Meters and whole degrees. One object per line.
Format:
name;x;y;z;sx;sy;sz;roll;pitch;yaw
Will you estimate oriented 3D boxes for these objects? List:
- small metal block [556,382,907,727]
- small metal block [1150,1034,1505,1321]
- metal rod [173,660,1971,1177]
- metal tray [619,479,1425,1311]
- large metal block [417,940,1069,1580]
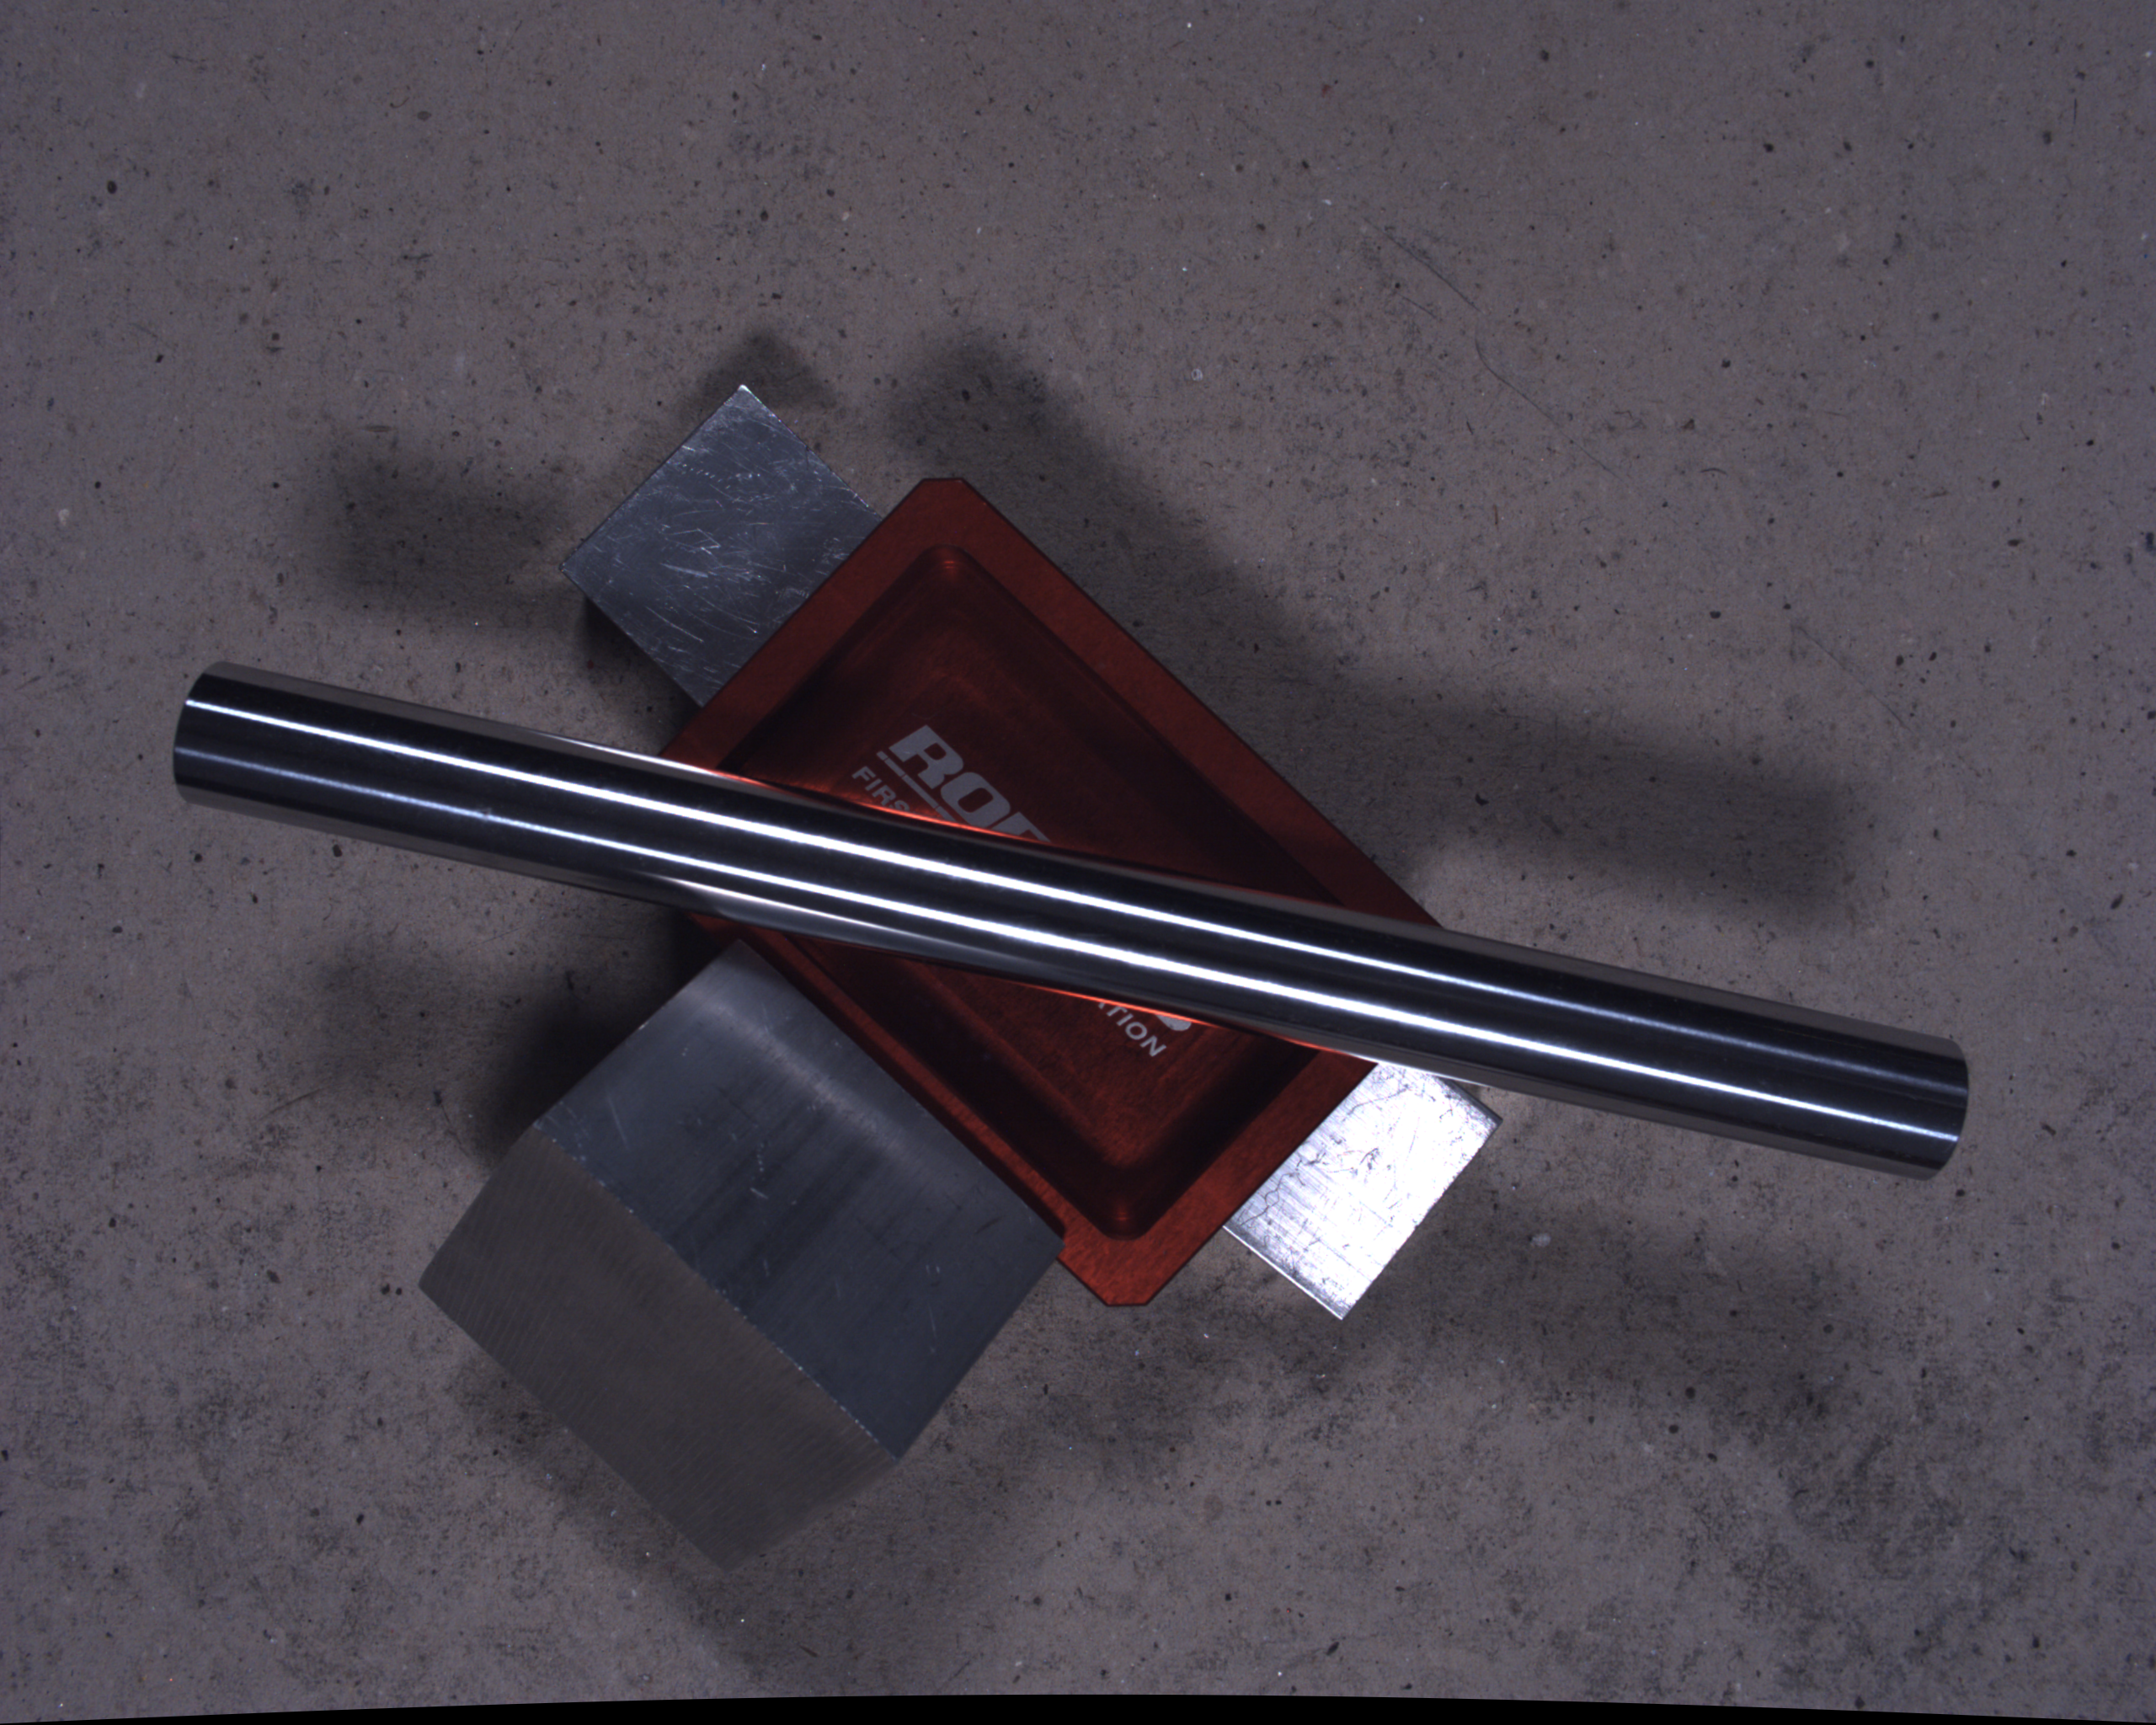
small metal block;-0.064;-0.057;0.410;0.050;0.025;0.050;45;90;-1
small metal block;0.046;0.053;0.411;0.050;0.025;0.050;39;90;-1
metal rod;0.000;0.010;0.356;0.302;0.025;0.025;12;90;-1
metal tray;-0.008;0.006;0.383;0.130;0.030;0.090;44;90;-1
large metal block;-0.062;0.073;0.374;0.080;0.080;0.050;43;48;0
